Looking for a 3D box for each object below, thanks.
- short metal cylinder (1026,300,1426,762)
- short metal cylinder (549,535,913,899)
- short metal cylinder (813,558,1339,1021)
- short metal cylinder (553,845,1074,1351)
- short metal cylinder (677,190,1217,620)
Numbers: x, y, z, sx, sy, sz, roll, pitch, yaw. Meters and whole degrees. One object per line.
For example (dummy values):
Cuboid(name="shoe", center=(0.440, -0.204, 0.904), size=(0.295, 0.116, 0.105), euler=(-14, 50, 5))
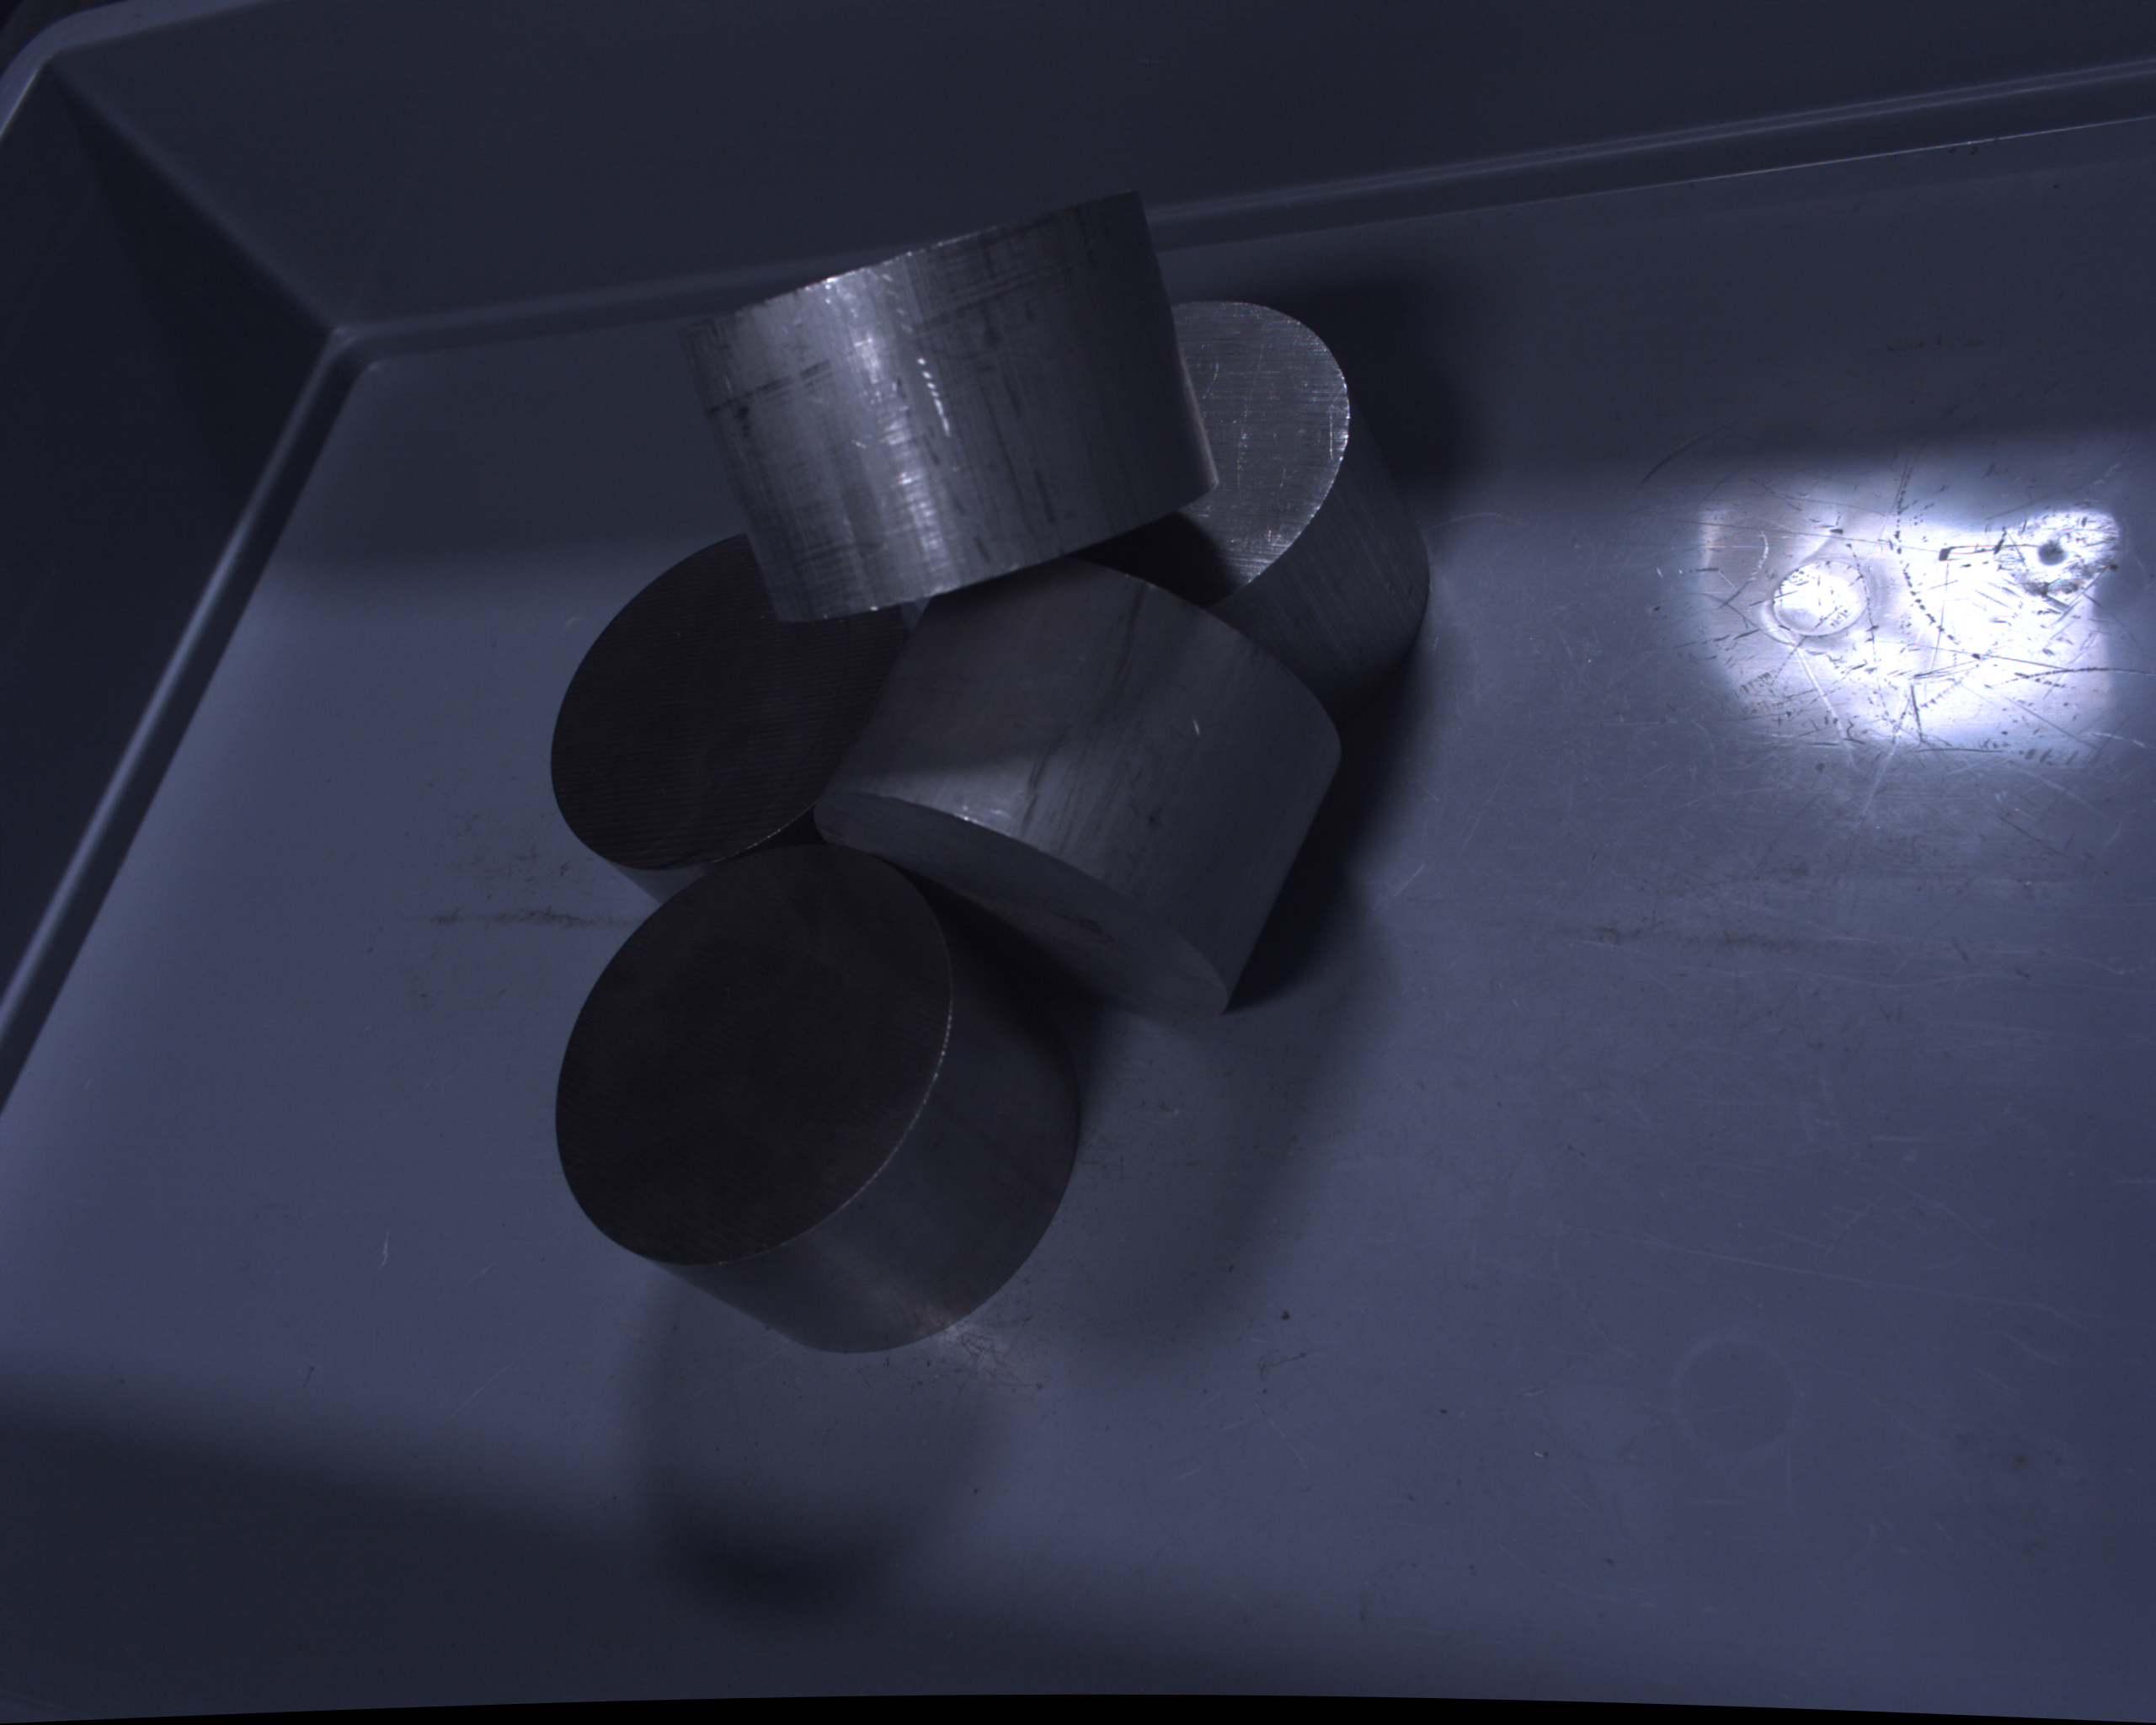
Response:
Cuboid(name="short metal cylinder", center=(0.023, -0.064, 0.414), size=(0.080, 0.050, 0.080), euler=(-13, 56, 20))
Cuboid(name="short metal cylinder", center=(-0.060, -0.022, 0.430), size=(0.080, 0.050, 0.080), euler=(-13, 56, 20))
Cuboid(name="short metal cylinder", center=(0.000, -0.012, 0.376), size=(0.080, 0.080, 0.050), euler=(14, 69, 33))
Cuboid(name="short metal cylinder", center=(-0.048, 0.044, 0.384), size=(0.080, 0.050, 0.080), euler=(-13, 56, 20))
Cuboid(name="short metal cylinder", center=(-0.022, -0.078, 0.355), size=(0.080, 0.050, 0.080), euler=(-15, 16, 5))
